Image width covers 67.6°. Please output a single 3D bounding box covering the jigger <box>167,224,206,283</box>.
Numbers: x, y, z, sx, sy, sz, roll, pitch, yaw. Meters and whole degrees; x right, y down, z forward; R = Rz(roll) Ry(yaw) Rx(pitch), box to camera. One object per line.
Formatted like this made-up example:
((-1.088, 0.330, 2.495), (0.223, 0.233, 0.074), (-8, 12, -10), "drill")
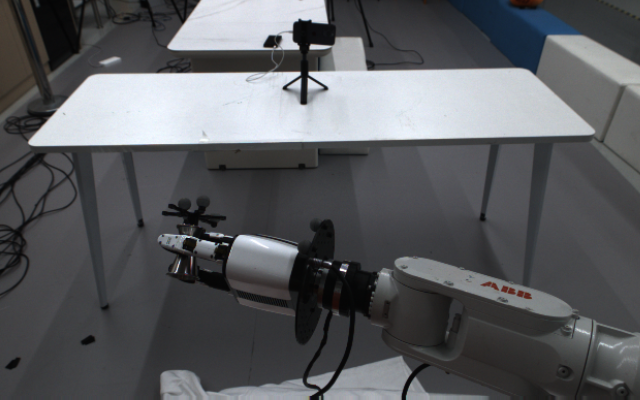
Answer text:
((-0.178, 0.070, 0.649), (0.043, 0.043, 0.071), (5, 71, 4), "jigger")
